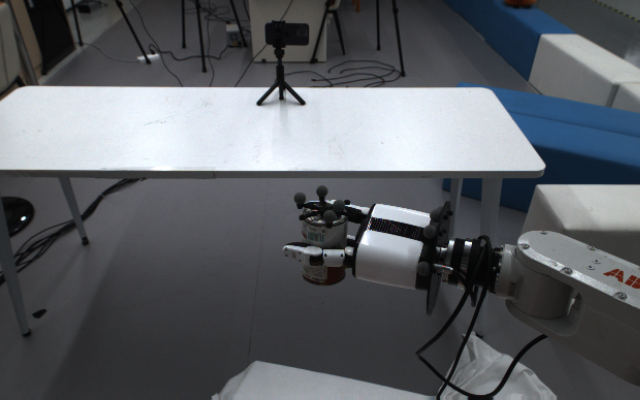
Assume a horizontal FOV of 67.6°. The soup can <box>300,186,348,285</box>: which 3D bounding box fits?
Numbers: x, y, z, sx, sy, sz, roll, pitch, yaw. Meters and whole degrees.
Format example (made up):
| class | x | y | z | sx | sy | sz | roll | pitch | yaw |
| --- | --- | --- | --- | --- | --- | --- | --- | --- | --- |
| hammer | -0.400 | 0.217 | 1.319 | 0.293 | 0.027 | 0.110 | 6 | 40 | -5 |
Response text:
| class | x | y | z | sx | sy | sz | roll | pitch | yaw |
| --- | --- | --- | --- | --- | --- | --- | --- | --- | --- |
| soup can | 0.007 | 0.065 | 0.706 | 0.067 | 0.101 | 0.067 | 1 | 26 | 0 |
